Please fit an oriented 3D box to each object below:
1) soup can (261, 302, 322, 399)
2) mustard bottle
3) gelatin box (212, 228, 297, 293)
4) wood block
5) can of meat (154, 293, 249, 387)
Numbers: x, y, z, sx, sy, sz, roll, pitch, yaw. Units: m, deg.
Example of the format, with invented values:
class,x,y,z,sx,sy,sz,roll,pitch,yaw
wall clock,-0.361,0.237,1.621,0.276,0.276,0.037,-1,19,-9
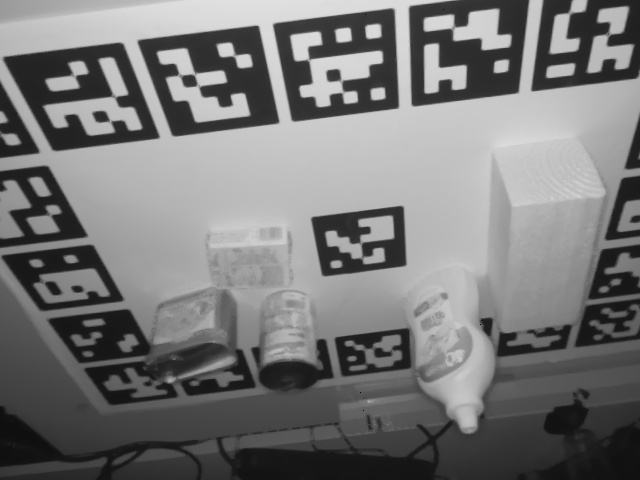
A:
class,x,y,z,sx,sy,sz,roll,pitch,yaw
soup can,-0.034,0.130,0.806,0.068,0.103,0.067,-3,132,-2
mustard bottle,0.160,0.123,0.773,0.095,0.193,0.058,-25,131,21
gelatin box,-0.071,0.022,0.756,0.090,0.030,0.072,-1,132,-7
wood block,0.242,0.005,0.731,0.091,0.090,0.205,-6,138,3
can of meat,-0.134,0.113,0.806,0.101,0.084,0.058,-16,132,14
